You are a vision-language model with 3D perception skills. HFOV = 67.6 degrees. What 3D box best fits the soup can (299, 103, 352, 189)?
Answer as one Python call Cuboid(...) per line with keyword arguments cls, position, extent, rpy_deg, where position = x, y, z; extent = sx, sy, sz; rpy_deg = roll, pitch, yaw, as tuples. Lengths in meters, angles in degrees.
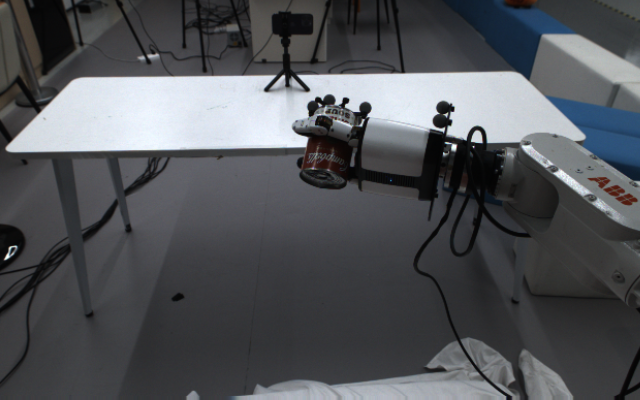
Cuboid(cls="soup can", position=(0.014, -0.074, 0.683), extent=(0.067, 0.067, 0.101), rpy_deg=(9, 71, 9))
